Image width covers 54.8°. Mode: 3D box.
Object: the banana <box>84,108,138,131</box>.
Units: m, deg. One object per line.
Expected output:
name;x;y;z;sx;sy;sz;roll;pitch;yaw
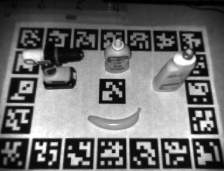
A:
banana;0.000;0.124;0.767;0.197;0.039;0.074;-4;73;0

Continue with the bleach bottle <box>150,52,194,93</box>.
bleach bottle;0.201;-0.043;0.727;0.102;0.251;0.068;9;71;2

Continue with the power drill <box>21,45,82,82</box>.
power drill;-0.179;-0.072;0.723;0.184;0.188;0.057;-5;71;1

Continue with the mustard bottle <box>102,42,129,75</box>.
mustard bottle;0.011;-0.100;0.773;0.096;0.192;0.058;-6;71;-4
